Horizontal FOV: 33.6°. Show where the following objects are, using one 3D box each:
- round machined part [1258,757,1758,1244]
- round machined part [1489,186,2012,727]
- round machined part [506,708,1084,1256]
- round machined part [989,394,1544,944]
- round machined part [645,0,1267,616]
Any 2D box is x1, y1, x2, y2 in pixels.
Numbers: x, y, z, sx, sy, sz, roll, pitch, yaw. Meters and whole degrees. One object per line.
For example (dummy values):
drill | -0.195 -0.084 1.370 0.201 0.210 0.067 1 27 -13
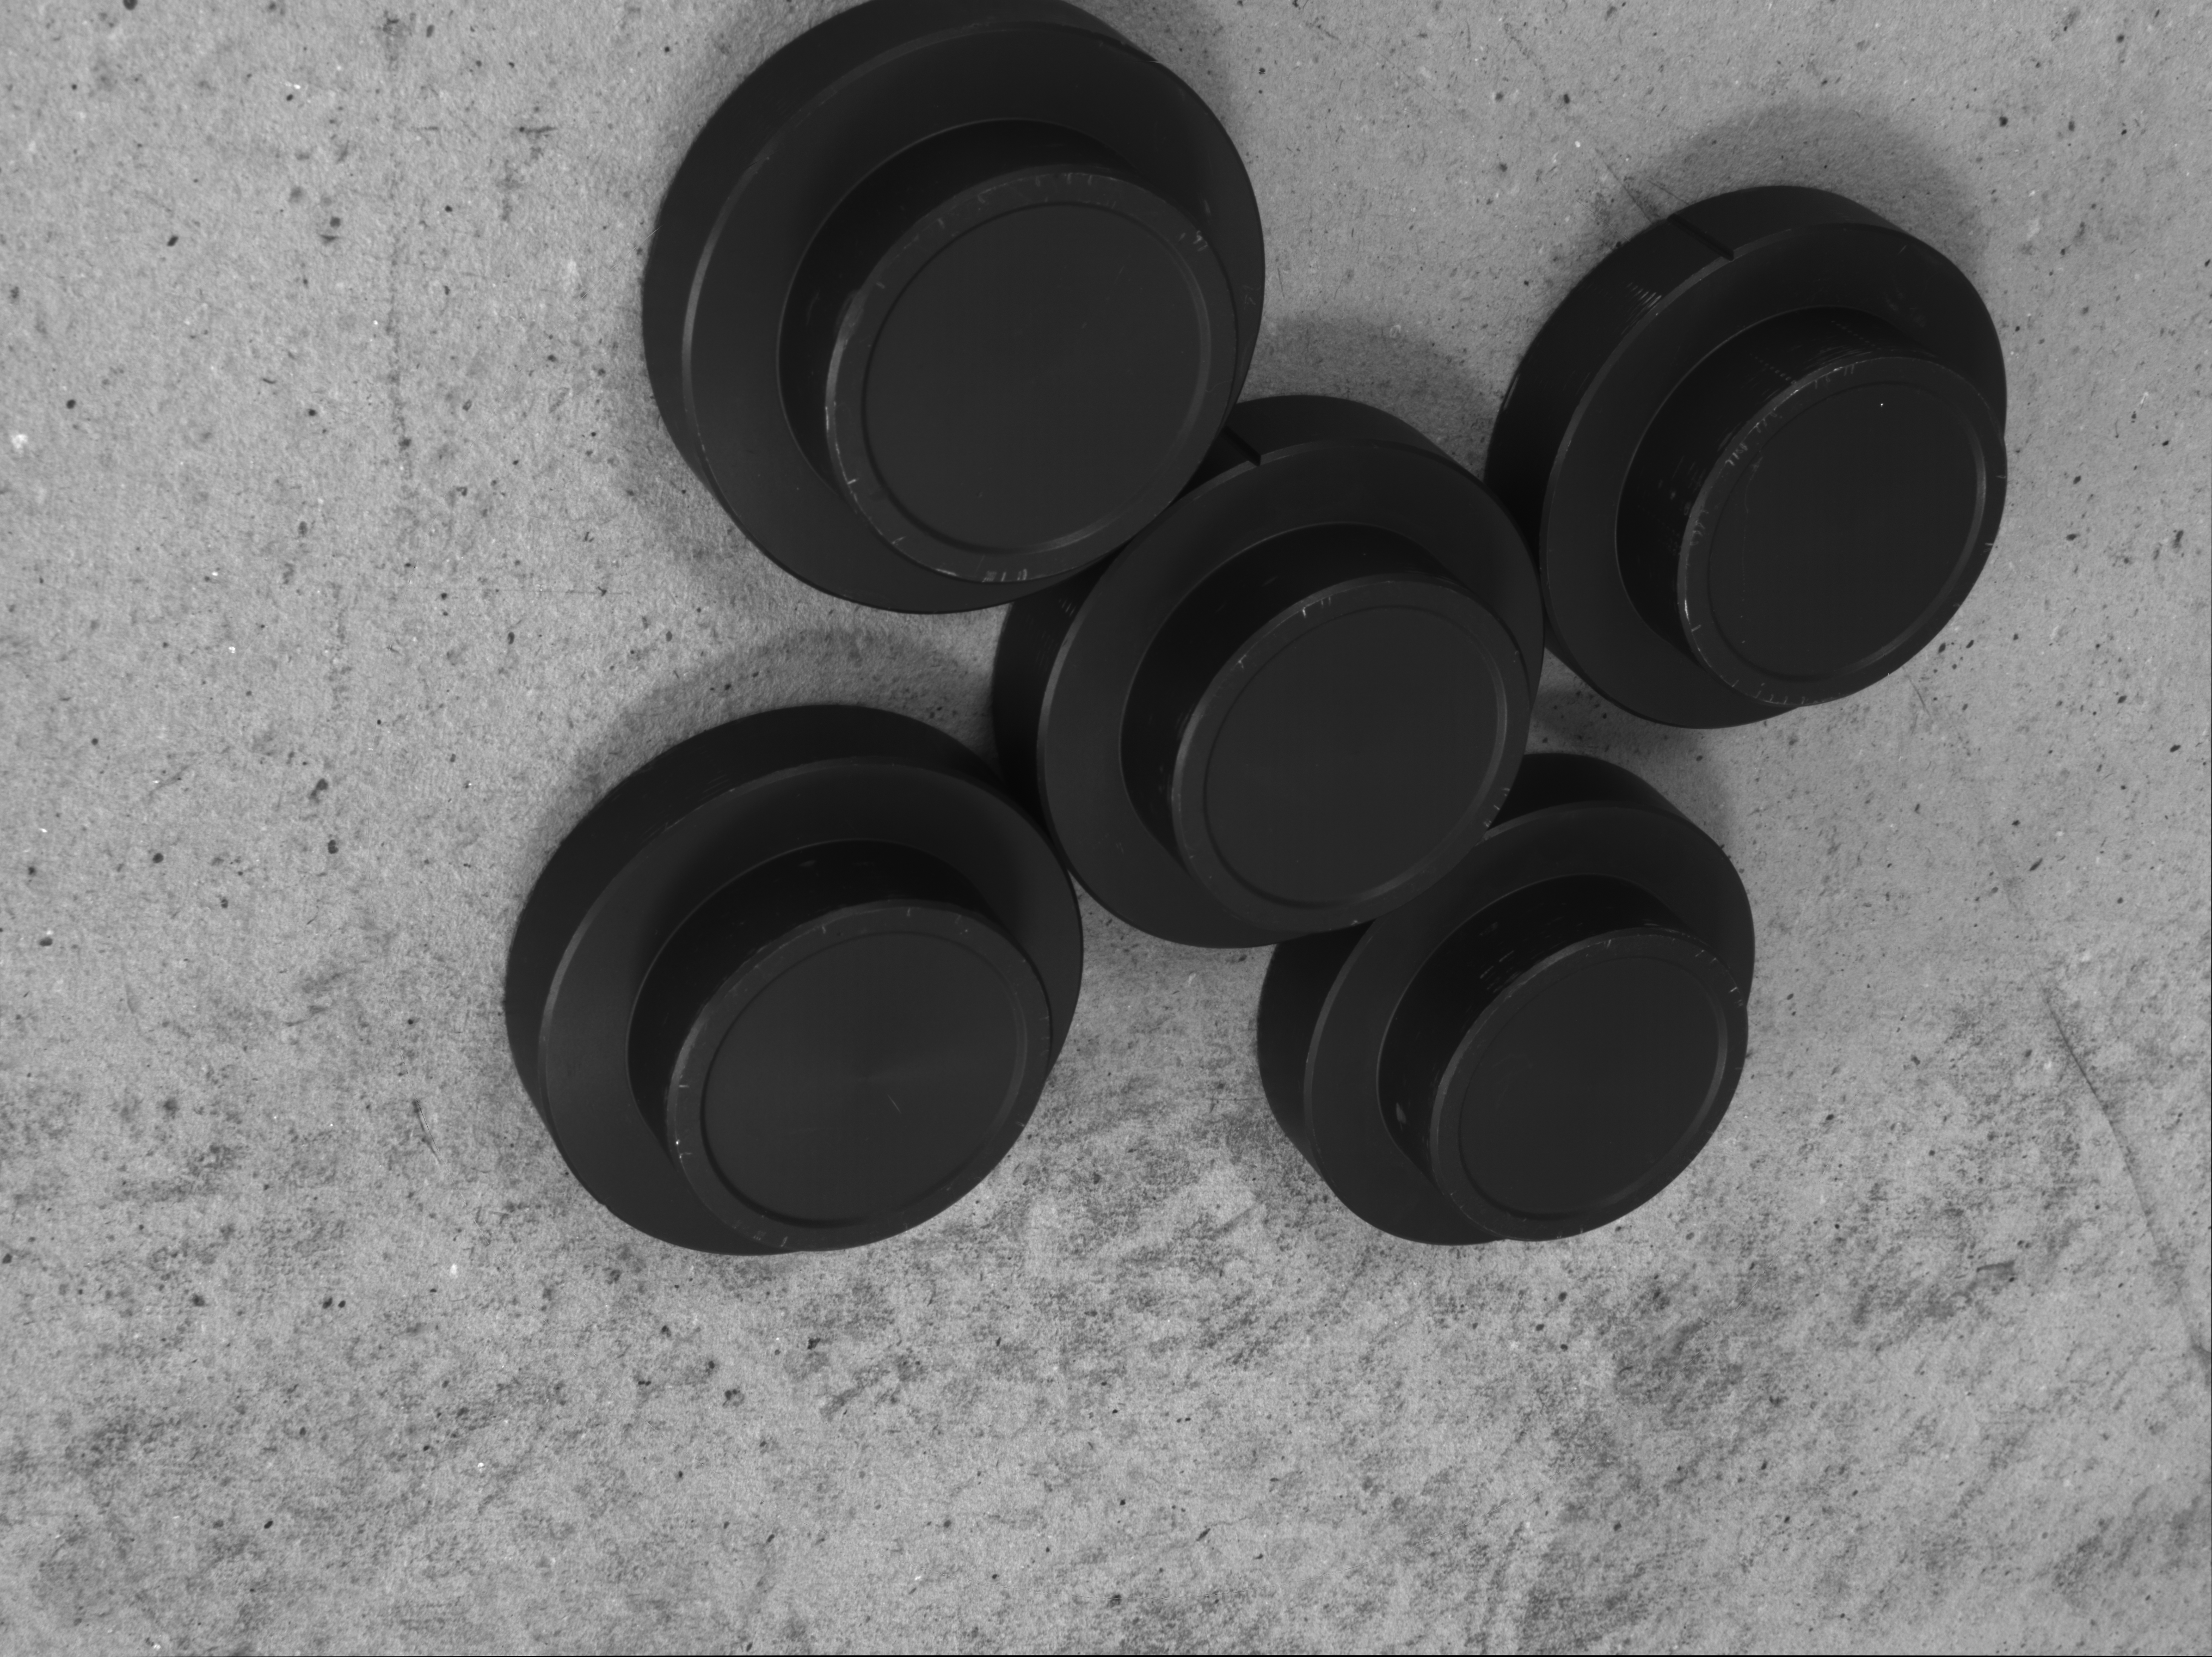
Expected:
round machined part | 0.081 0.039 0.694 0.098 0.042 0.098 -13 125 -19
round machined part | 0.121 -0.061 0.654 0.098 0.042 0.098 -13 125 -19
round machined part | -0.048 0.032 0.620 0.098 0.042 0.098 -14 125 -21
round machined part | 0.033 -0.021 0.631 0.098 0.042 0.098 -13 125 -19
round machined part | -0.018 -0.077 0.570 0.098 0.042 0.098 -14 124 -21
